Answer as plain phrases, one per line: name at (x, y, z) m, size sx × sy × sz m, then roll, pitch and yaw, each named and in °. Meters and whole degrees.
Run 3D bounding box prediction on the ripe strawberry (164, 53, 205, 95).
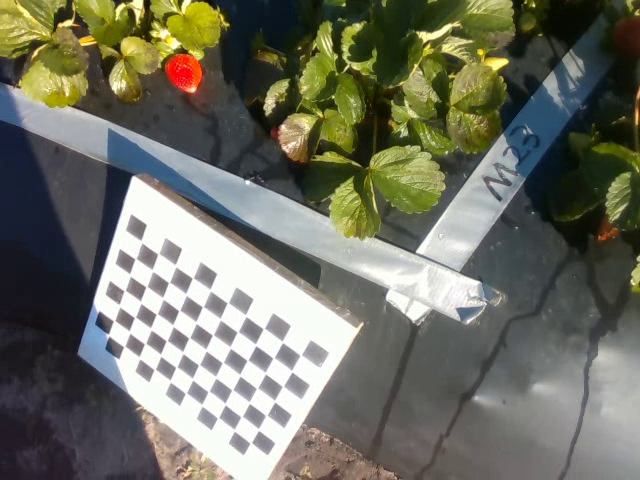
ripe strawberry at (-0.153, -0.188, 0.726) m, size 0.045 × 0.058 × 0.042 m, roll -32°, pitch -16°, yaw 30°
